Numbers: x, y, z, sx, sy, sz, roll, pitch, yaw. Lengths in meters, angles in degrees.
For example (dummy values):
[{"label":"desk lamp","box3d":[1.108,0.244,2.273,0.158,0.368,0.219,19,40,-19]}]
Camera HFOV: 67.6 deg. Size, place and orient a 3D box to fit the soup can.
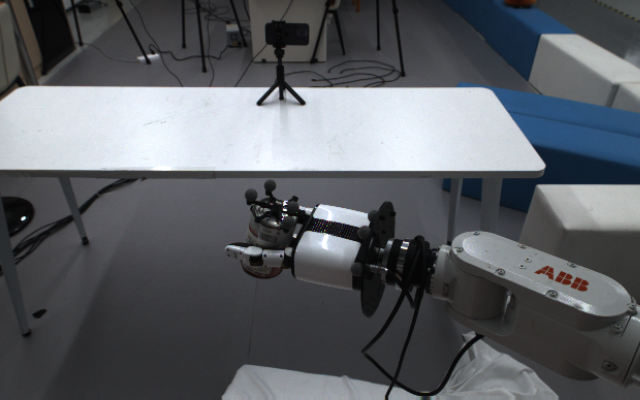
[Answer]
[{"label":"soup can","box3d":[-0.074,0.058,0.703,0.067,0.101,0.067,13,34,-9]}]
